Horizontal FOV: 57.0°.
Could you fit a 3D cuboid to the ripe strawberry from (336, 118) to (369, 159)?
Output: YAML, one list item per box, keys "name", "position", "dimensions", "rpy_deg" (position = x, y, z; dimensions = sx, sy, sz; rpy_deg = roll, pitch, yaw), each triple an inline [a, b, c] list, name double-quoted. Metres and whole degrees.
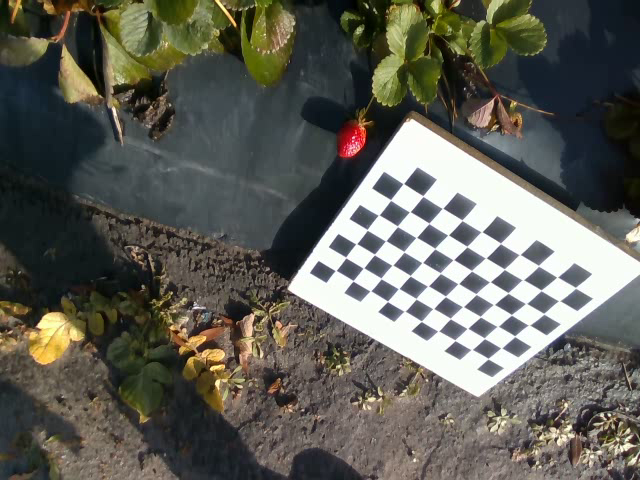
- name: "ripe strawberry"
  position: [0.026, -0.086, 0.509]
  dimensions: [0.035, 0.038, 0.033]
  rpy_deg: [29, -14, -7]
